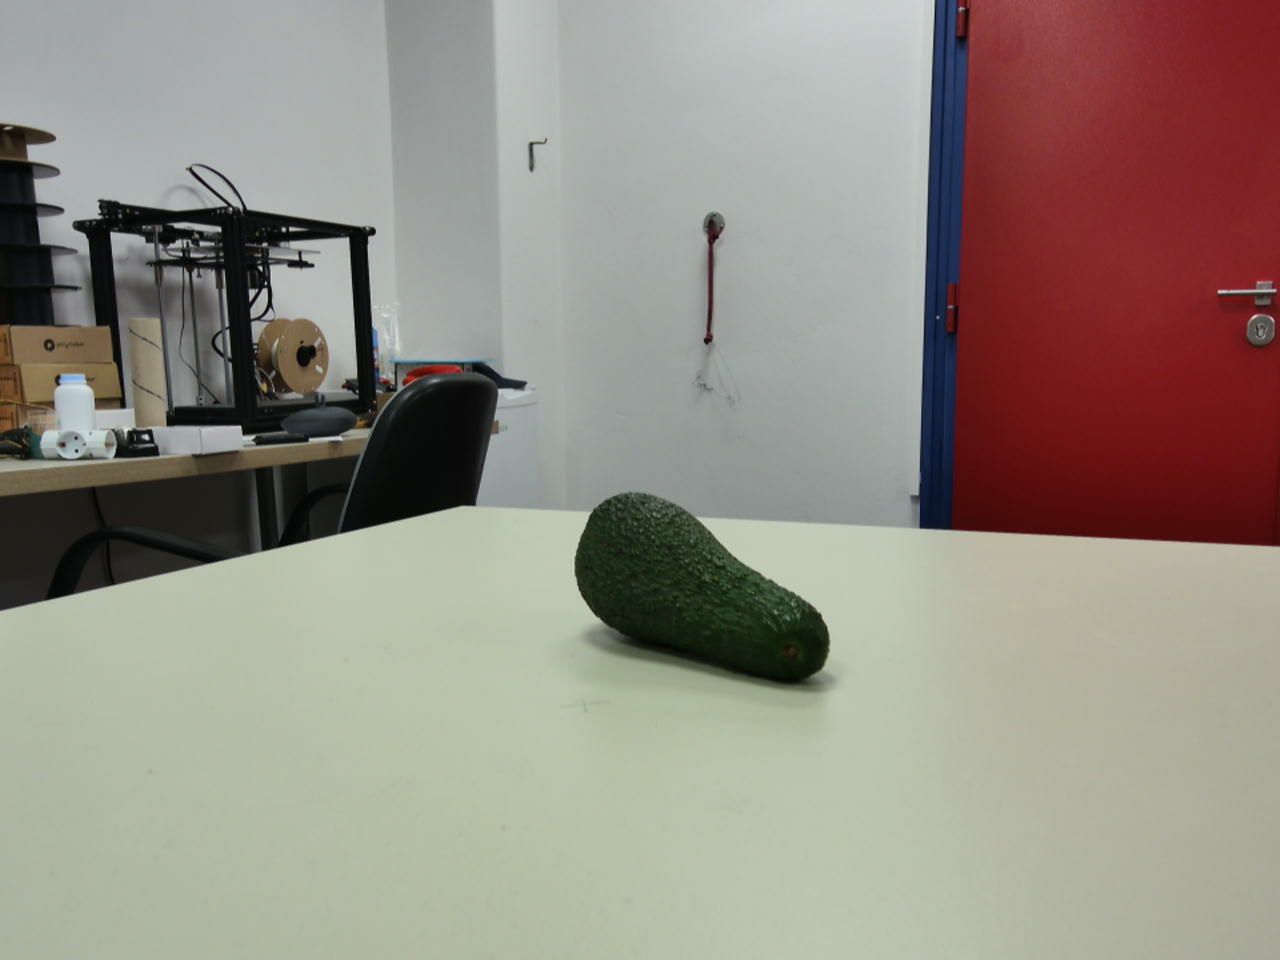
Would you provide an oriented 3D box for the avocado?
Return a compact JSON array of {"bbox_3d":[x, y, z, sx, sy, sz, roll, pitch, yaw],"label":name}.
[{"bbox_3d":[0.027,0.041,0.430,0.141,0.067,0.063,4,4,40],"label":"avocado"}]
